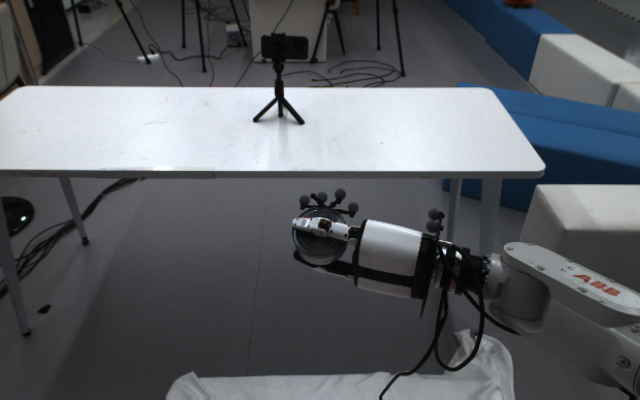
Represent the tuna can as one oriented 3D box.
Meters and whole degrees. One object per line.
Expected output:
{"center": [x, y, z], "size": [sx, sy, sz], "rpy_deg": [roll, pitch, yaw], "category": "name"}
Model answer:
{"center": [0.001, 0.054, 0.741], "size": [0.085, 0.034, 0.085], "rpy_deg": [-2, 58, 4], "category": "tuna can"}
